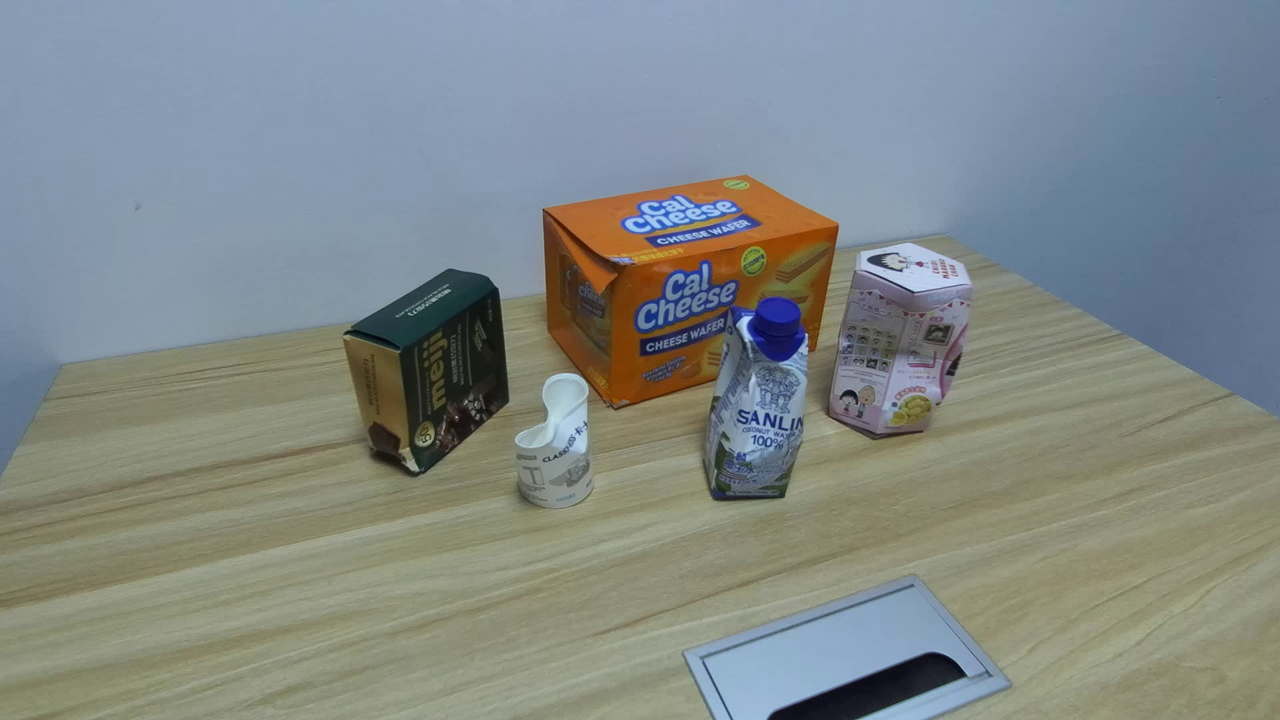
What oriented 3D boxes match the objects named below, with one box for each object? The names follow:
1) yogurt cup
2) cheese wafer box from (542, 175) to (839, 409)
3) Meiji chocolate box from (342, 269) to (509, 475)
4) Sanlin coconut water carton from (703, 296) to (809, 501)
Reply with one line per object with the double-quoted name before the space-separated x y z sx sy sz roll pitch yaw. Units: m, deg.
"yogurt cup" -0.060 0.059 0.490 0.054 0.071 0.075 -6 33 -12
"cheese wafer box" 0.040 -0.073 0.639 0.228 0.137 0.149 -14 36 -24
"Meiji chocolate box" -0.156 0.005 0.535 0.058 0.116 0.123 18 35 22
"Sanlin coconut water carton" 0.085 0.023 0.488 0.057 0.144 0.068 3 24 -11
